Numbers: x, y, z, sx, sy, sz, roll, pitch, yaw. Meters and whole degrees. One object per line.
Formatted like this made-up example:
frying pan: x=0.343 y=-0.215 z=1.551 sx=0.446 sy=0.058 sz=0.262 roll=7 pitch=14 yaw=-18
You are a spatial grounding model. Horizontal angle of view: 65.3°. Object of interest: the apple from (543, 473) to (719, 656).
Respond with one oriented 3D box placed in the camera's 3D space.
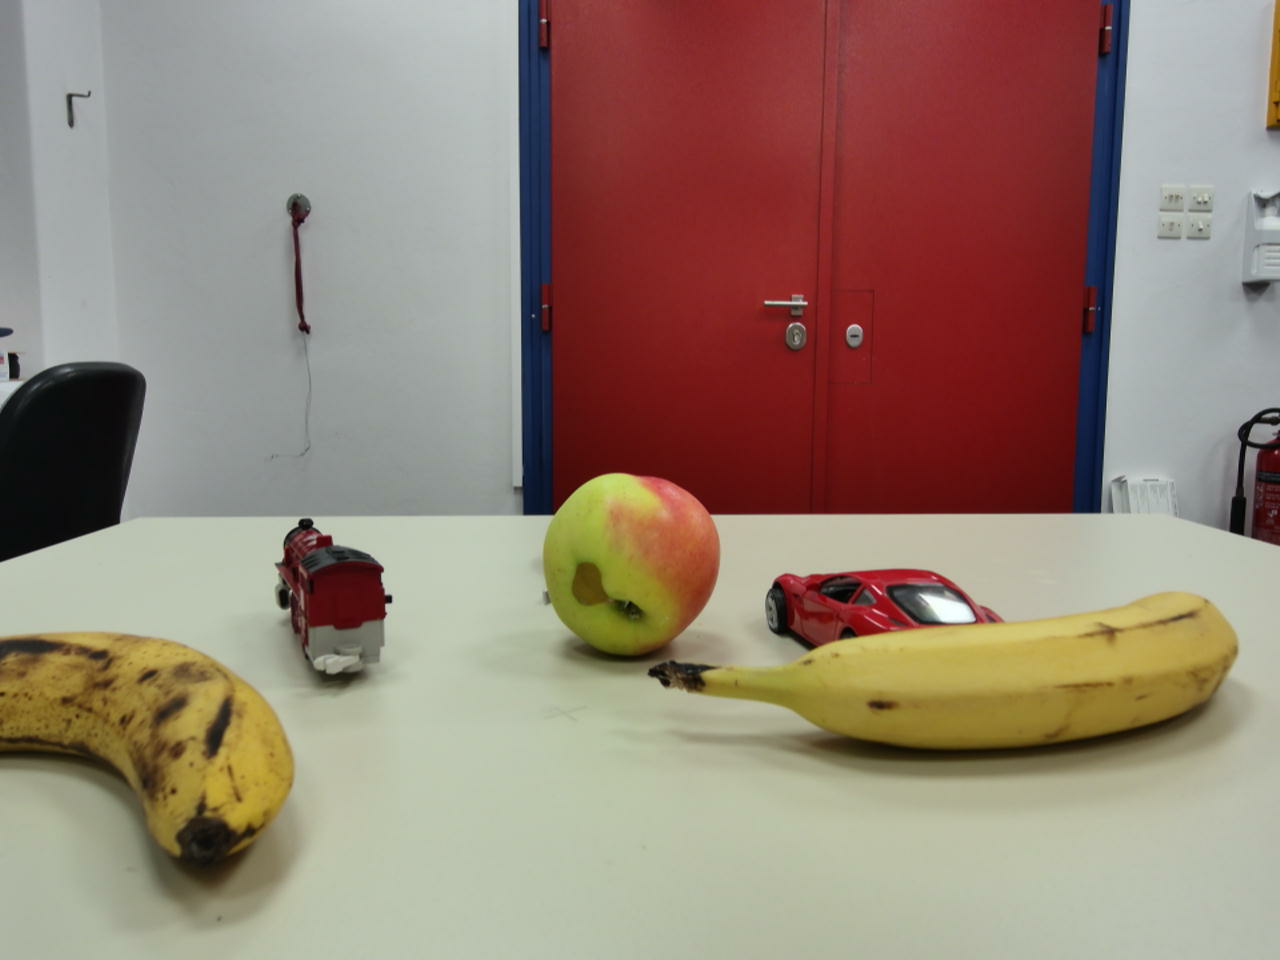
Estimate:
apple: x=-0.004 y=0.035 z=0.423 sx=0.075 sy=0.074 sz=0.075 roll=-2 pitch=4 yaw=-20
